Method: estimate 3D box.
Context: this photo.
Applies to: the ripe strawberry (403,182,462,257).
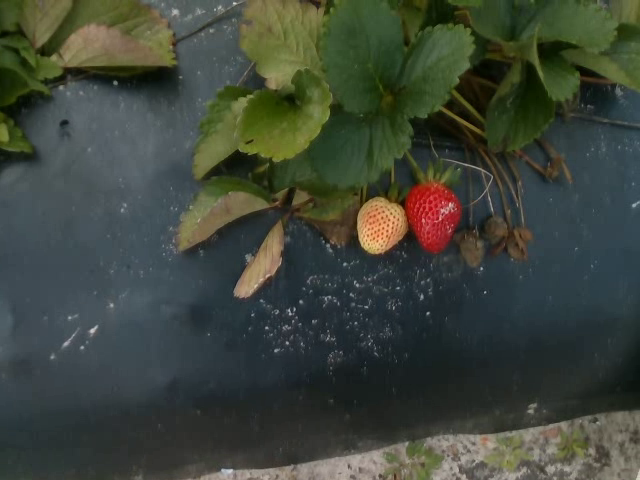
[{"bbox_3d":[0.060,-0.011,0.328,0.034,0.042,0.033,23,-35,-18],"label":"ripe strawberry"}]
